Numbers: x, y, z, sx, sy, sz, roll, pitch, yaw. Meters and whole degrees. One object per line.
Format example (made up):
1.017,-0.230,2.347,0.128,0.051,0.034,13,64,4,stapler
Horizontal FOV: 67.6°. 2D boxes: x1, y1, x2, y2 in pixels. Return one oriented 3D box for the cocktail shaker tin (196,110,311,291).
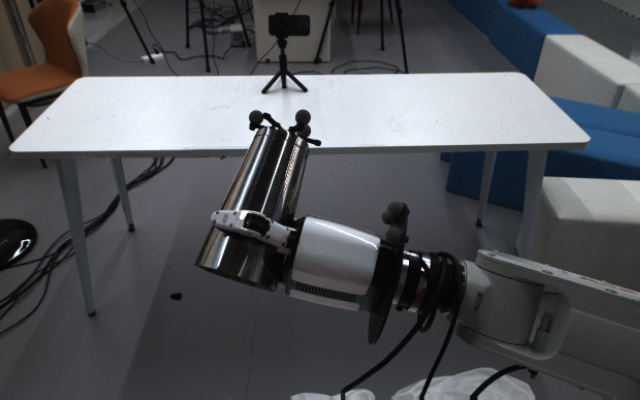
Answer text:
-0.067,0.008,0.547,0.093,0.093,0.170,13,74,15,cocktail shaker tin
